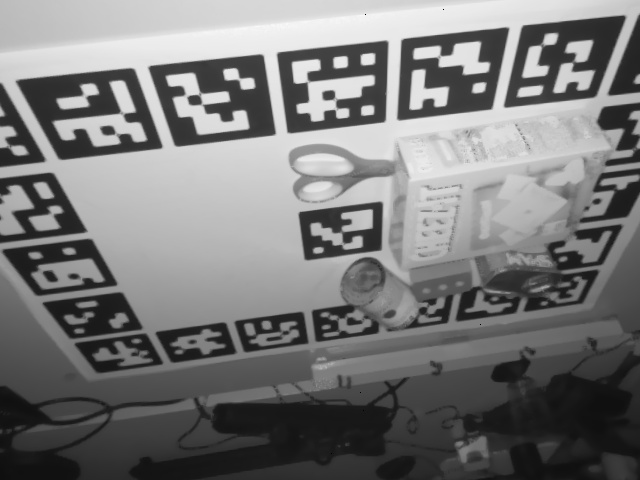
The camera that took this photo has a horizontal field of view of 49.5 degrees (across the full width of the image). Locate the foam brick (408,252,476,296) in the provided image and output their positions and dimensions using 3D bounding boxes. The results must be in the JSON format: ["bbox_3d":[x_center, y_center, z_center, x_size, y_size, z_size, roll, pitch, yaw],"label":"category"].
[{"bbox_3d":[0.156,0.031,0.893,0.078,0.051,0.052,-13,139,4],"label":"foam brick"}]

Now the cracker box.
[{"bbox_3d":[0.196,-0.065,0.750,0.214,0.072,0.163,-13,140,-3],"label":"cracker box"}]

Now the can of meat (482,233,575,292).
[{"bbox_3d":[0.252,0.014,0.864,0.103,0.084,0.057,3,137,-14],"label":"can of meat"}]

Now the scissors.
[{"bbox_3d":[0.076,-0.099,0.735,0.203,0.016,0.087,-10,139,-1],"label":"scissors"}]

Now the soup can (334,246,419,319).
[{"bbox_3d":[0.076,0.058,0.907,0.067,0.068,0.103,-32,140,24],"label":"soup can"}]
